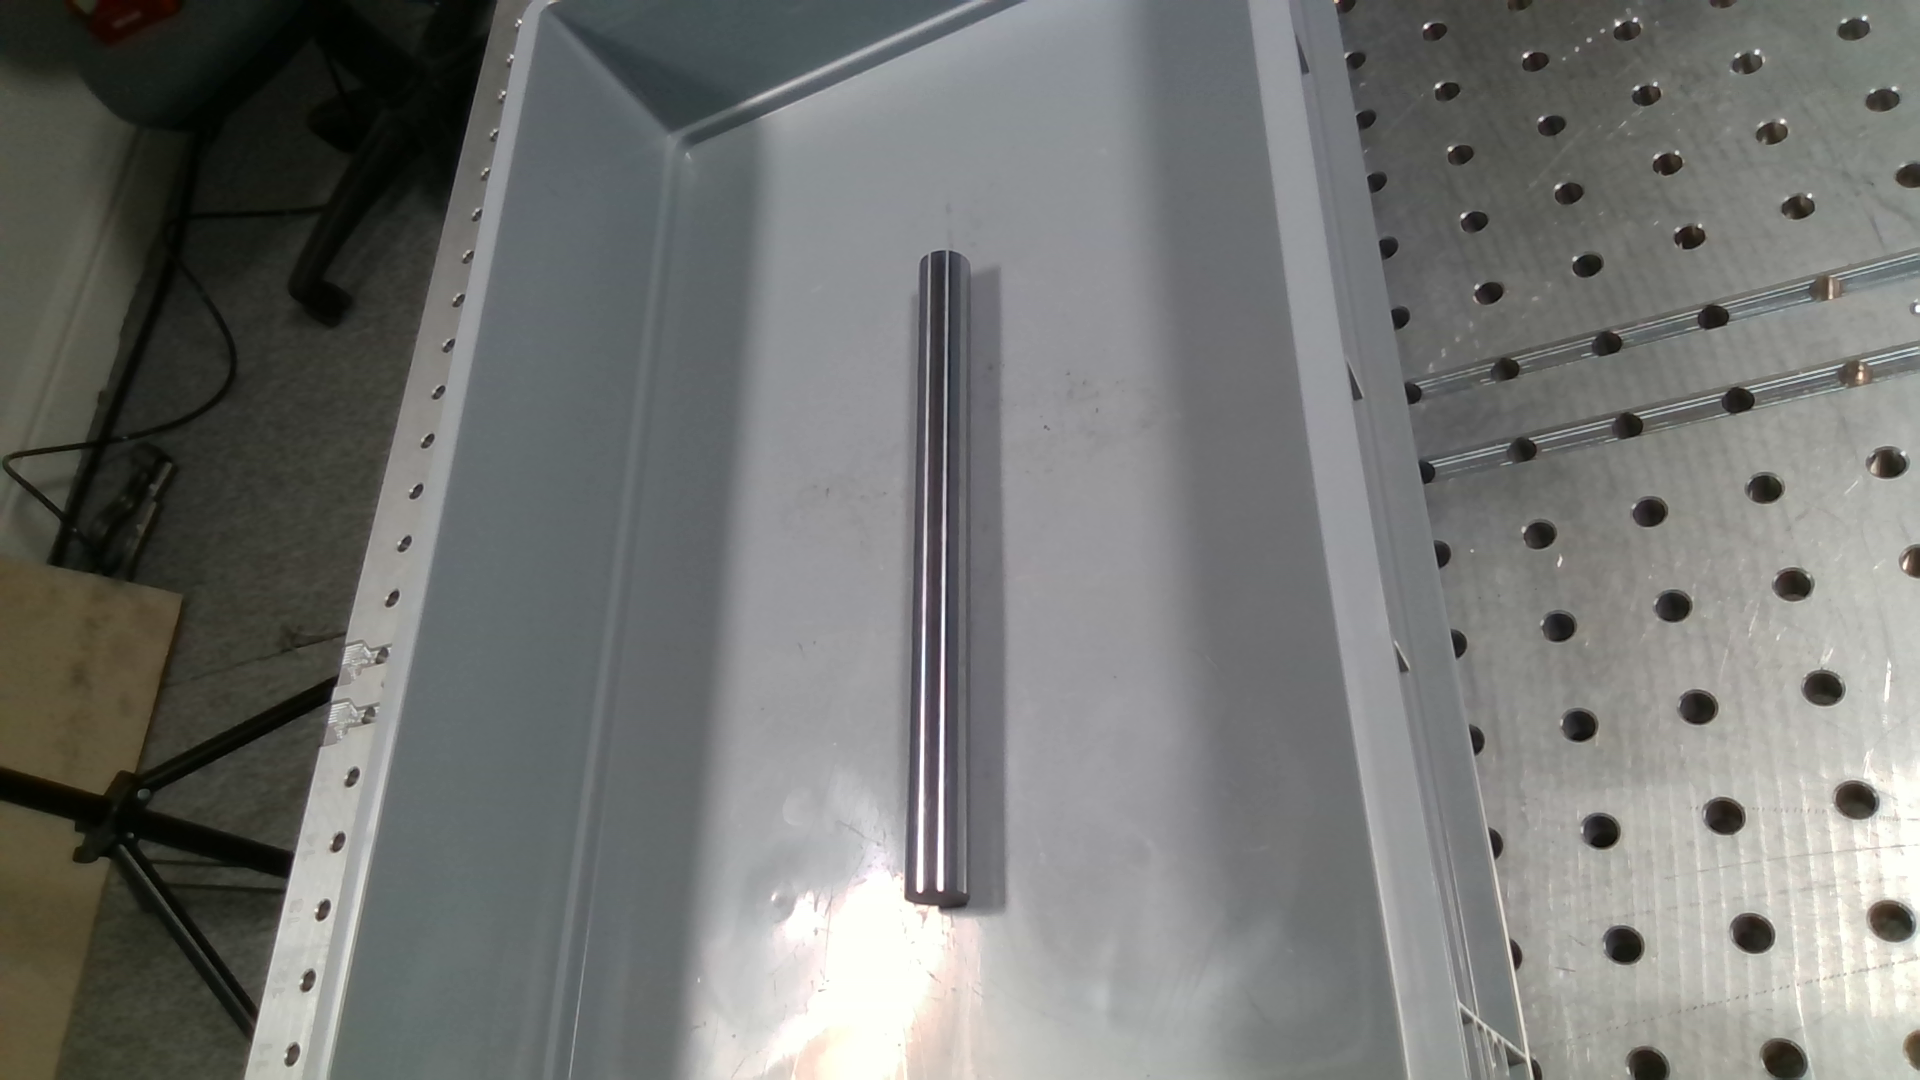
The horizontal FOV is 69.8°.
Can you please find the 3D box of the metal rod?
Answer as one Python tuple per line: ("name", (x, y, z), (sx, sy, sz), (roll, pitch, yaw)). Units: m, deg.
("metal rod", (-0.008, 0.002, 0.587), (0.025, 0.025, 0.299), (-14, 59, 25))
